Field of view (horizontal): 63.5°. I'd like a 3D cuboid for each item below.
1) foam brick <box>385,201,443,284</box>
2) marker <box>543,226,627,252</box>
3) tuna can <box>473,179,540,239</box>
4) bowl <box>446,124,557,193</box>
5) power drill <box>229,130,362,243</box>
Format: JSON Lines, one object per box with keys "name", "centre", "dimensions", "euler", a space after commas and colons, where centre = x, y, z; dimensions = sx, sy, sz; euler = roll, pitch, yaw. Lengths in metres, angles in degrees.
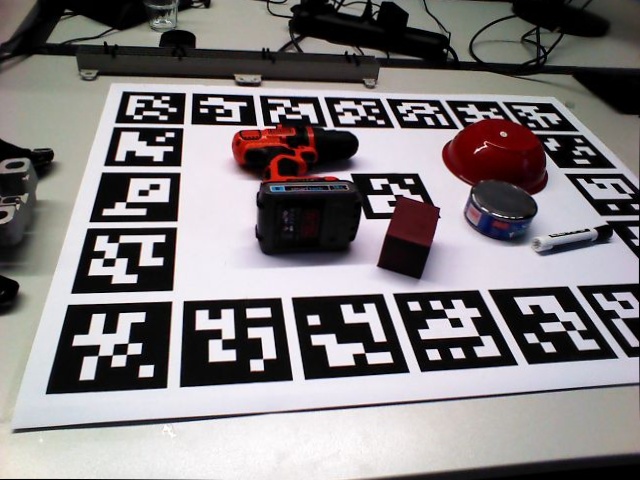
{"name": "foam brick", "centre": [0.111, 0.002, 0.597], "dimensions": [0.051, 0.053, 0.077], "euler": [16, 44, 7]}
{"name": "marker", "centre": [0.335, -0.002, 0.648], "dimensions": [0.121, 0.020, 0.019], "euler": [-8, 46, -17]}
{"name": "tuna can", "centre": [0.244, -0.041, 0.667], "dimensions": [0.086, 0.034, 0.085], "euler": [6, 42, -6]}
{"name": "bowl", "centre": [0.274, -0.129, 0.768], "dimensions": [0.162, 0.055, 0.161], "euler": [2, 36, -1]}
{"name": "power drill", "centre": [-0.019, -0.076, 0.654], "dimensions": [0.184, 0.057, 0.186], "euler": [1, 40, -14]}
